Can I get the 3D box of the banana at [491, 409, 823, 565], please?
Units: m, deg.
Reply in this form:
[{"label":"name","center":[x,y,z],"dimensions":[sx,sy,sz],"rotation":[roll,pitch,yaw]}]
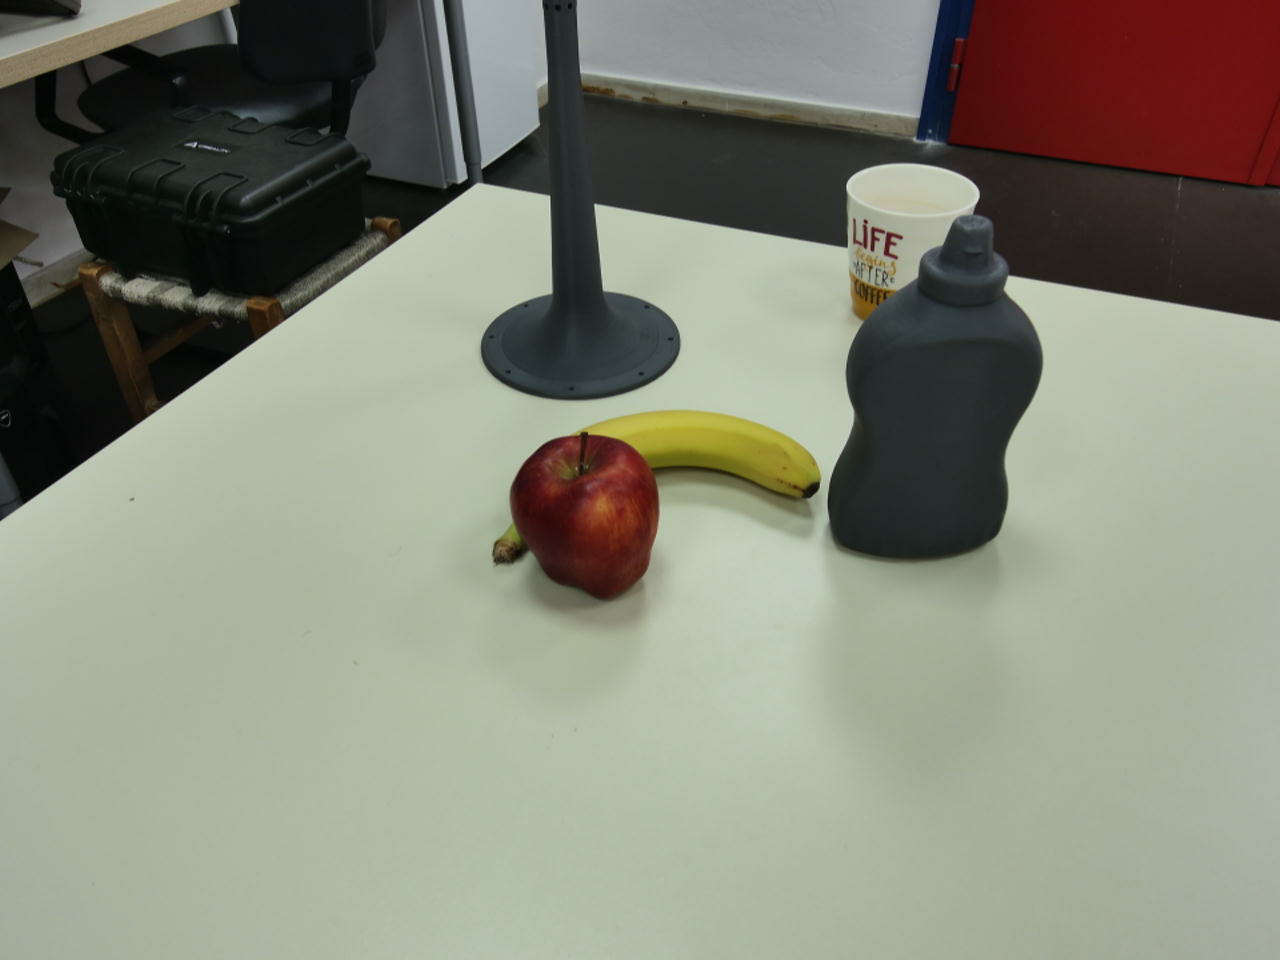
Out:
[{"label":"banana","center":[0.005,-0.007,0.606],"dimensions":[0.196,0.041,0.094],"rotation":[-8,39,-8]}]
